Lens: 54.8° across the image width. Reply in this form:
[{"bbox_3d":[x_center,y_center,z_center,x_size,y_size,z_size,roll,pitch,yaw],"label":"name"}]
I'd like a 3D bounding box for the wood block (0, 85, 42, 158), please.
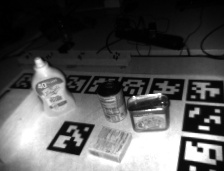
[{"bbox_3d":[-0.311,0.096,0.642,0.090,0.090,0.207,6,39,22],"label":"wood block"}]

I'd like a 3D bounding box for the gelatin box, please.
[{"bbox_3d":[-0.018,0.136,0.544,0.088,0.030,0.073,10,46,31],"label":"gelatin box"}]

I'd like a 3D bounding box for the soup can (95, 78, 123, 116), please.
[{"bbox_3d":[-0.008,0.028,0.606,0.067,0.103,0.067,-10,40,9],"label":"soup can"}]

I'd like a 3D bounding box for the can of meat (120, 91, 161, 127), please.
[{"bbox_3d":[0.078,0.062,0.568,0.101,0.084,0.057,-5,41,9],"label":"can of meat"}]

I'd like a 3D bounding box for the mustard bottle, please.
[{"bbox_3d":[-0.196,-0.002,0.651,0.096,0.193,0.058,-13,38,1],"label":"mustard bottle"}]
